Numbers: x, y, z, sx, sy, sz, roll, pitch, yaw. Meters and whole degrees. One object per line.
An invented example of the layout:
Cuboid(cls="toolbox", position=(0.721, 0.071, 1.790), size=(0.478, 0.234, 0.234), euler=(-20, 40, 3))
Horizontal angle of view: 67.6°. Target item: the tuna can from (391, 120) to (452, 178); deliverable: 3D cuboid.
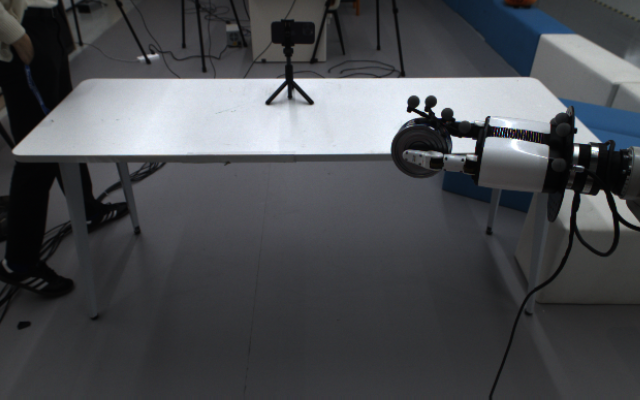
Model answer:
Cuboid(cls="tuna can", position=(0.152, -0.071, 0.714), size=(0.085, 0.085, 0.034), euler=(15, 31, 18))
